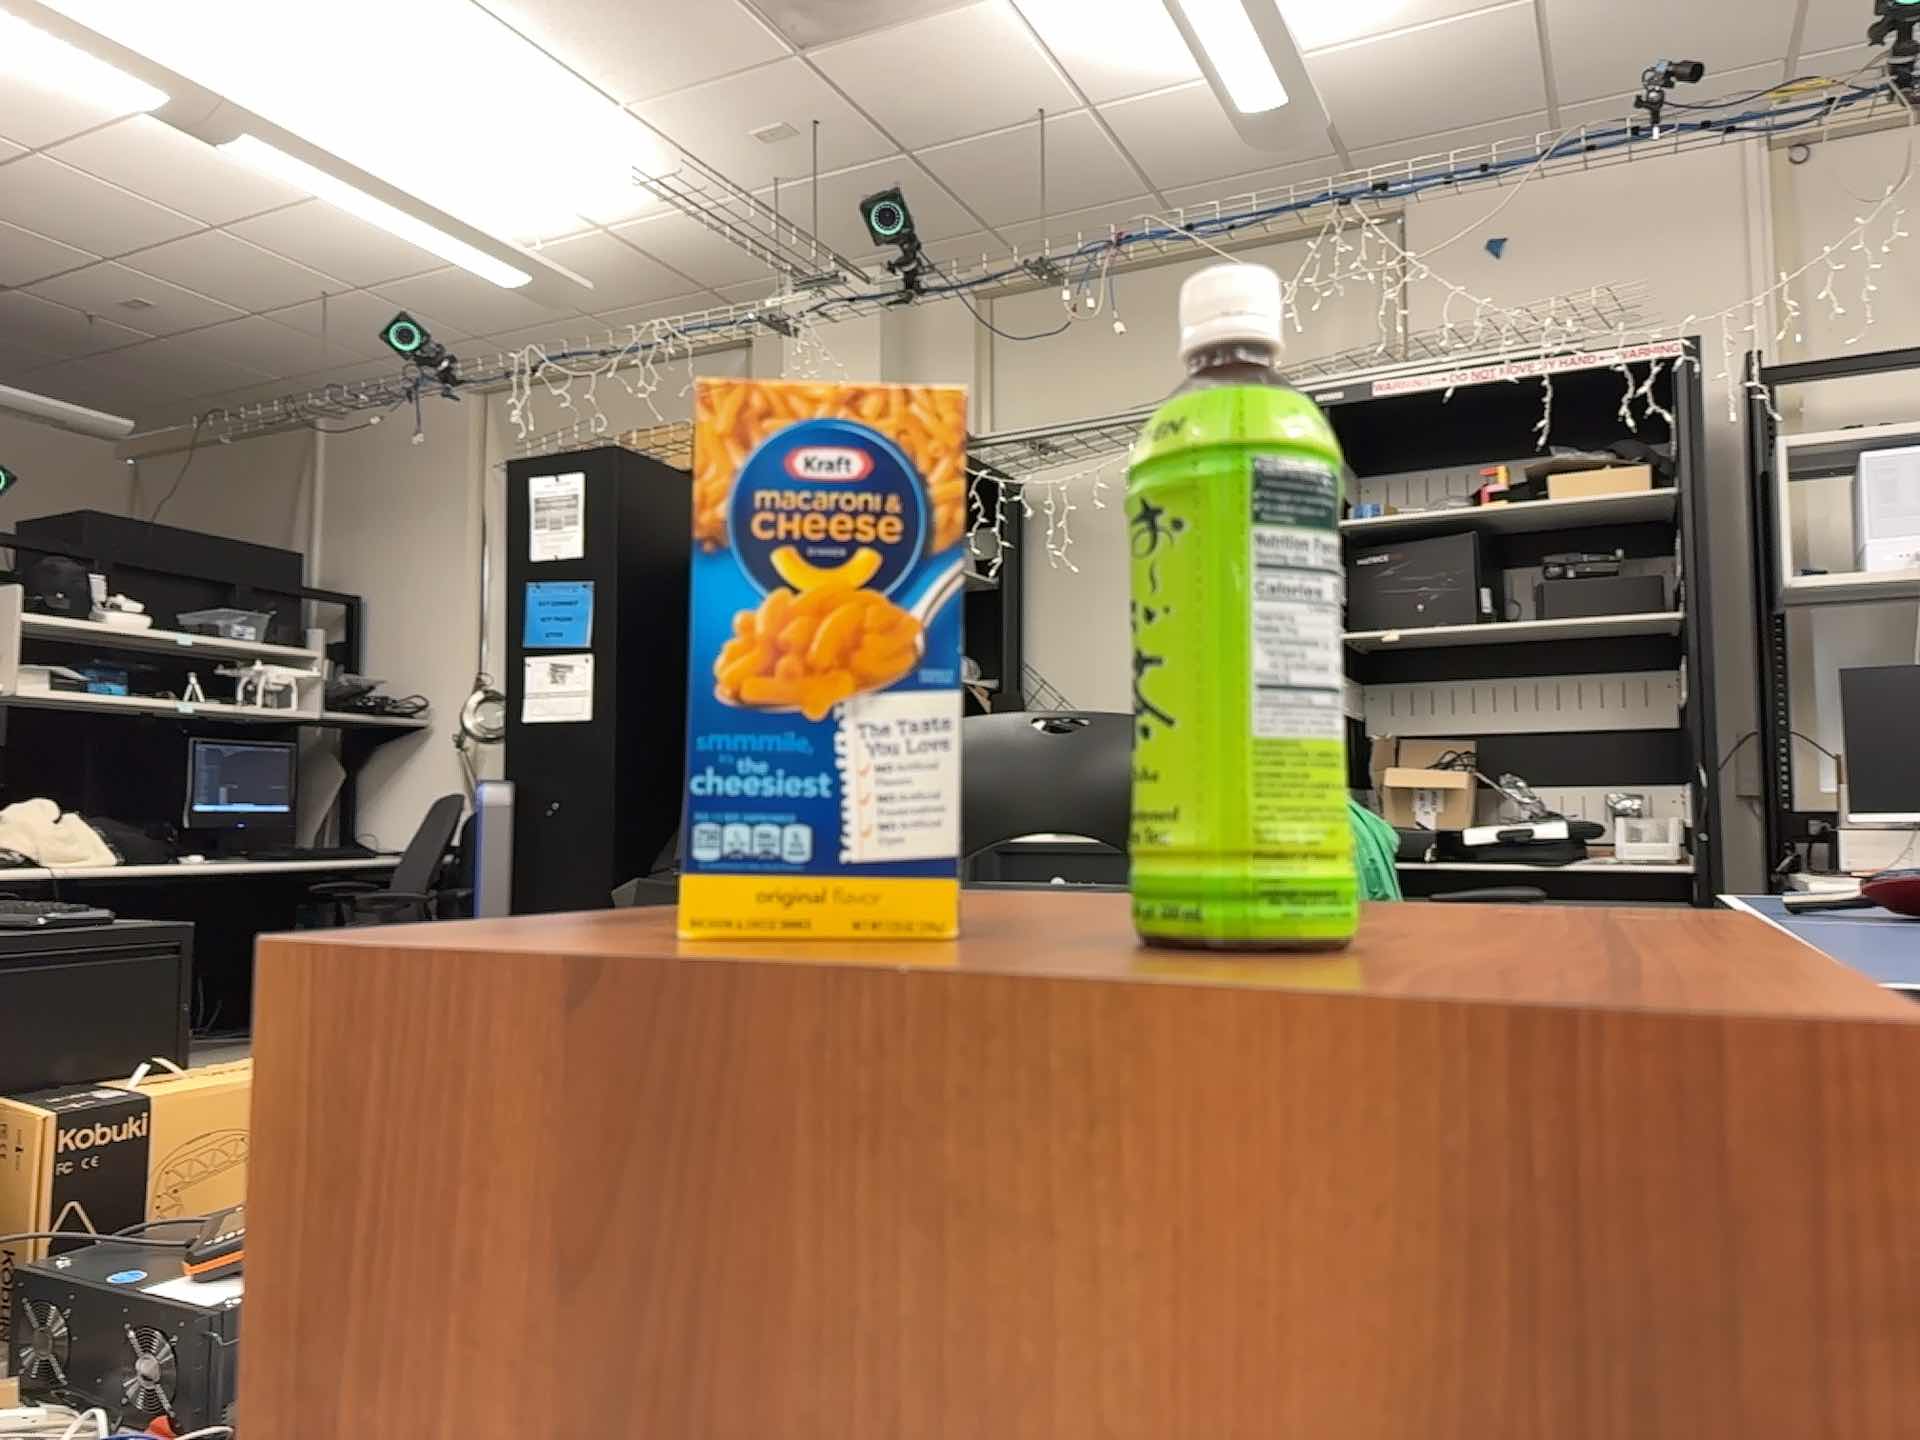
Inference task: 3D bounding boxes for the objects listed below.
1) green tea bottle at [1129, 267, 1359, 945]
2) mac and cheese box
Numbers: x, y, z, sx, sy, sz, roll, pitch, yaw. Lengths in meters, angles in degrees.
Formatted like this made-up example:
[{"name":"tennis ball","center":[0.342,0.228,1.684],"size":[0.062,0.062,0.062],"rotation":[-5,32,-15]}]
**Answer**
[{"name":"green tea bottle","center":[0.089,-0.037,0.426],"size":[0.073,0.212,0.073],"rotation":[3,-8,0]},{"name":"mac and cheese box","center":[-0.041,-0.018,0.457],"size":[0.088,0.181,0.035],"rotation":[0,-7,2]}]
